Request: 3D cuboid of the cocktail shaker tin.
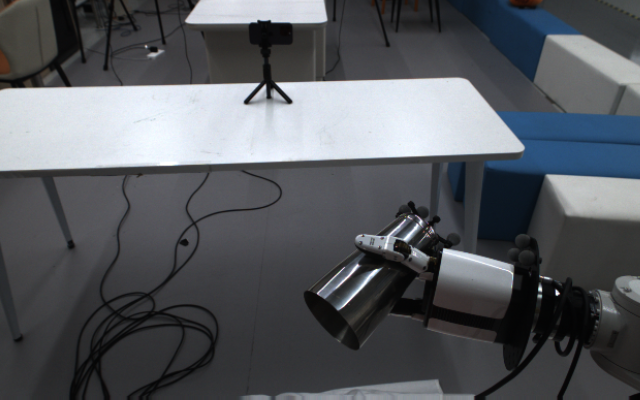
[{"bbox_3d":[0.072,0.088,0.604,0.170,0.093,0.093,-38,49,-23],"label":"cocktail shaker tin"}]
